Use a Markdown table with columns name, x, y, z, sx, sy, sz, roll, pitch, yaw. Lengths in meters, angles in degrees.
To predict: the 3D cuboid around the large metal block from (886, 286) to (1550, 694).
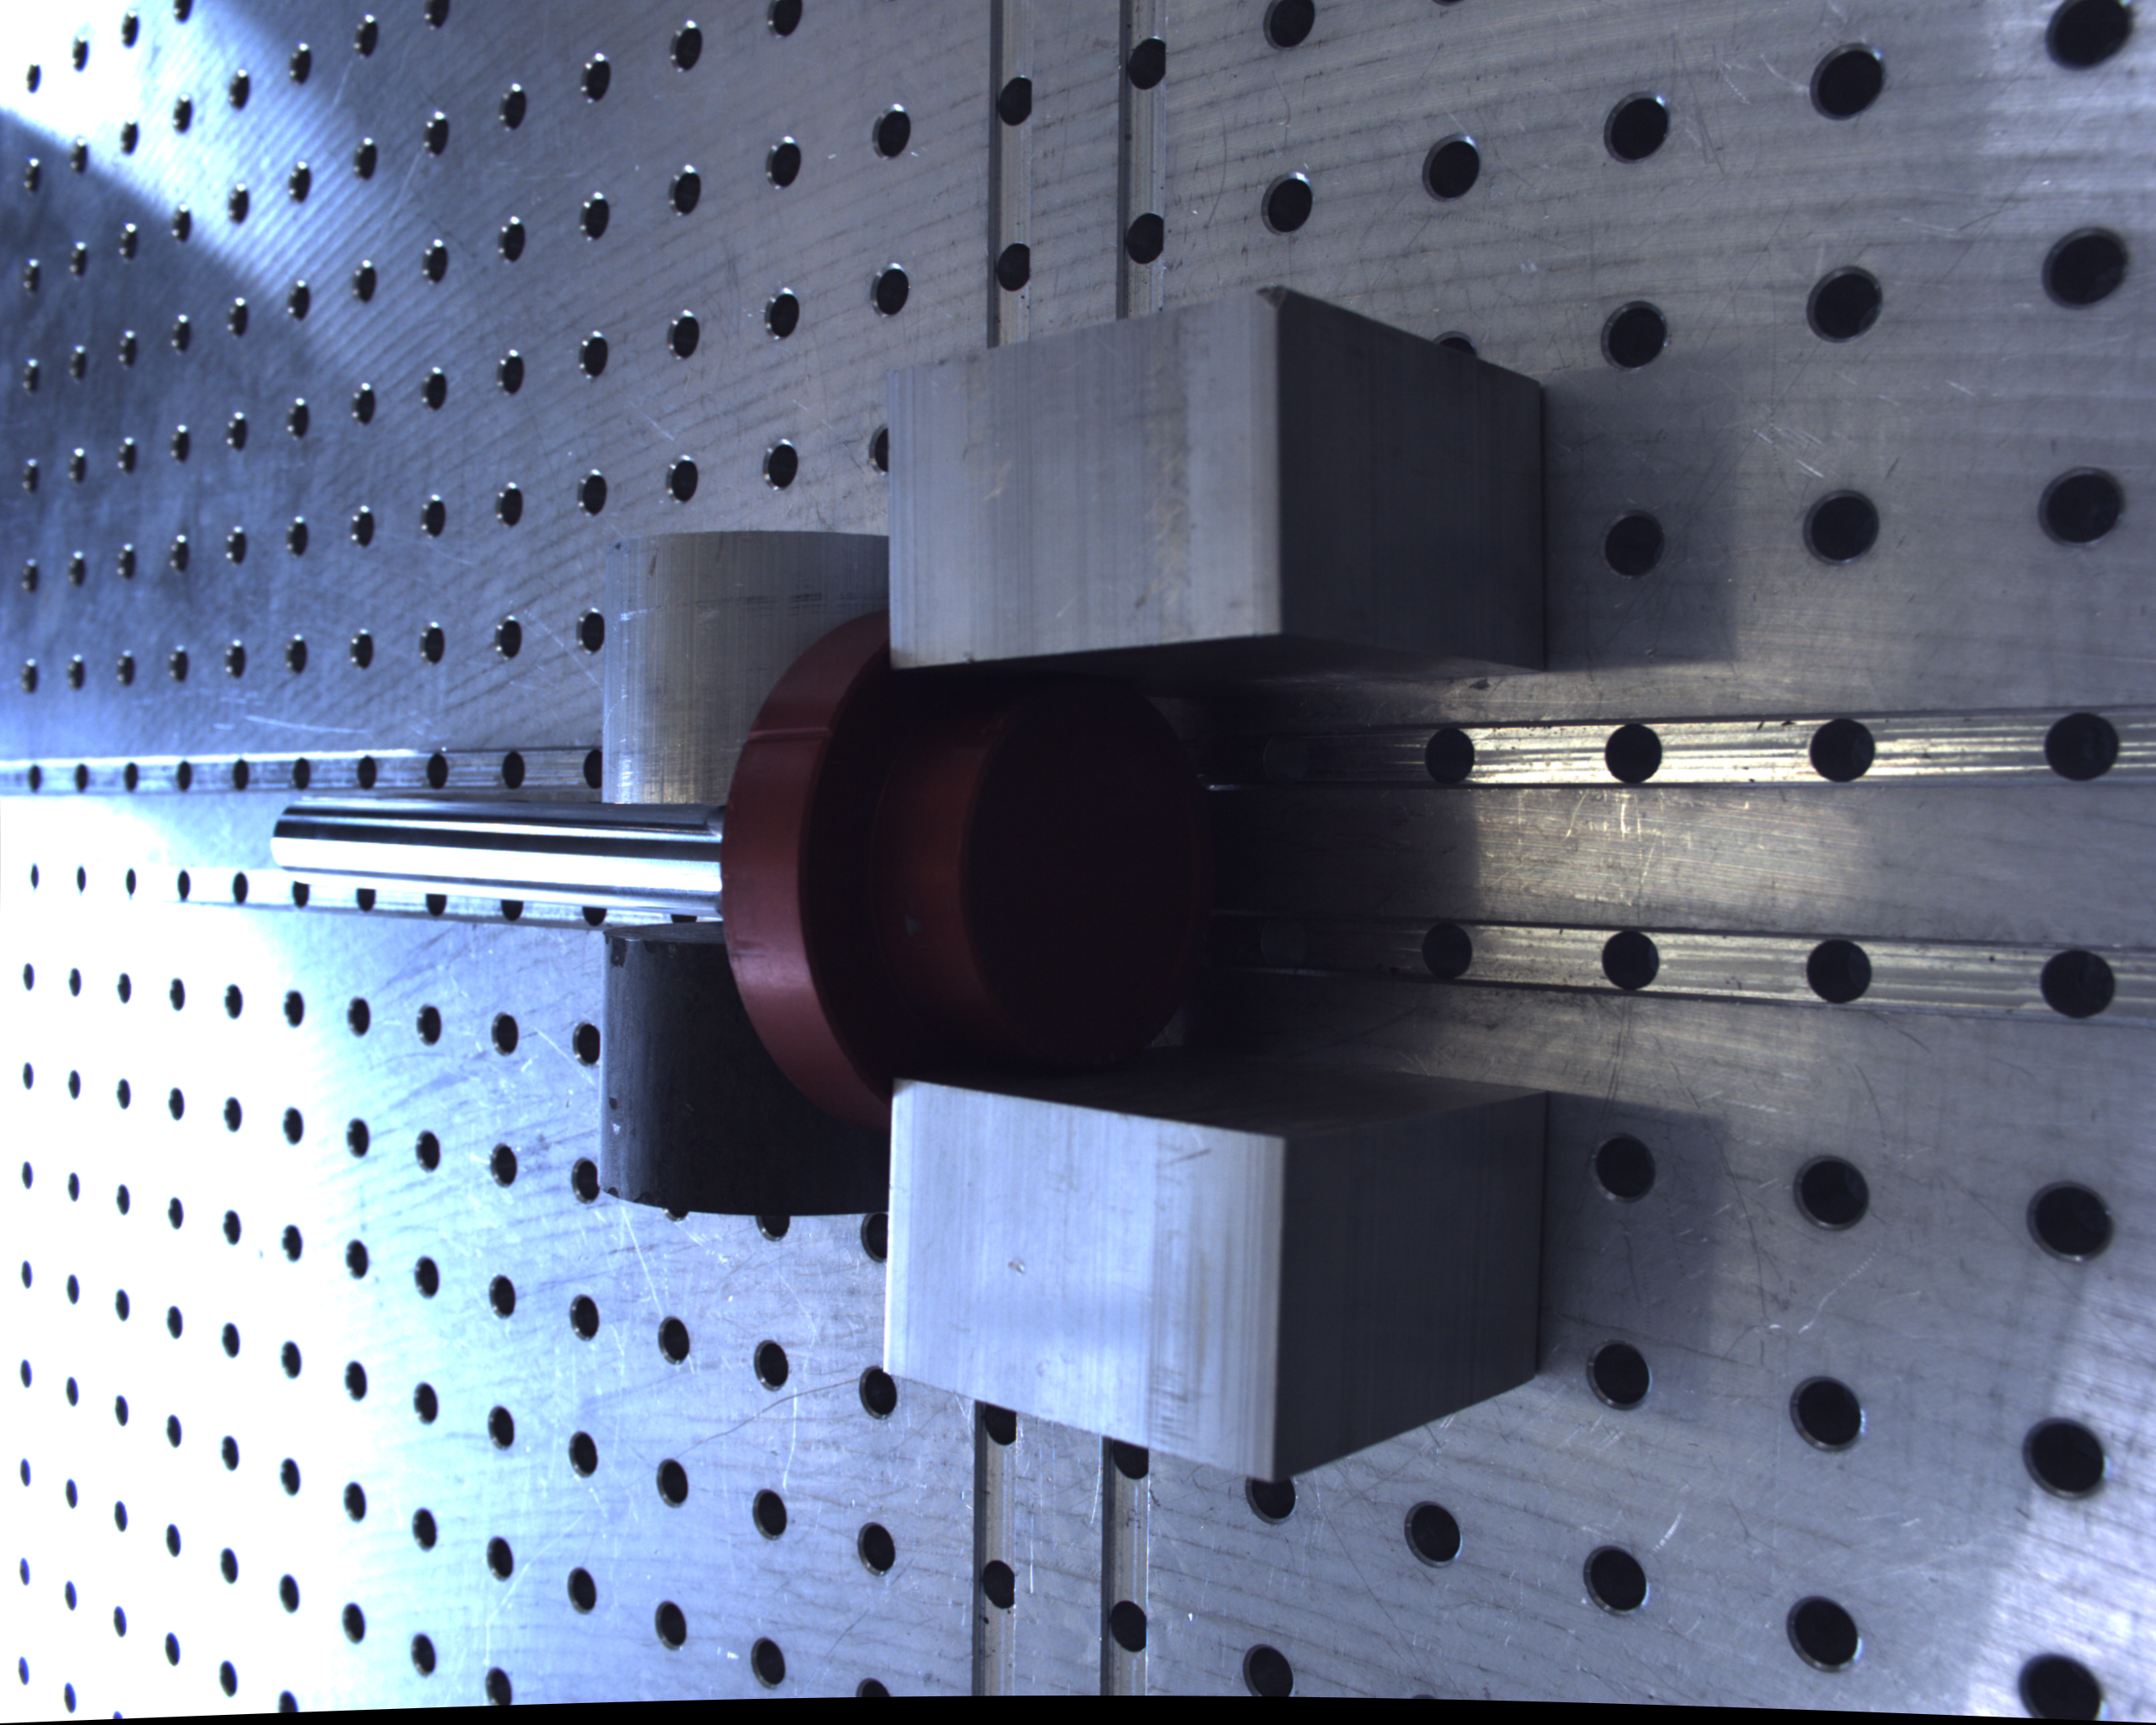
| name | x | y | z | sx | sy | sz | roll | pitch | yaw |
| --- | --- | --- | --- | --- | --- | --- | --- | --- | --- |
| large metal block | 0.025 | -0.058 | 0.354 | 0.080 | 0.081 | 0.050 | 0 | 90 | 40 |

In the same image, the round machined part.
| name | x | y | z | sx | sy | sz | roll | pitch | yaw |
| --- | --- | --- | --- | --- | --- | --- | --- | --- | --- |
| round machined part | -0.012 | 0.002 | 0.371 | 0.042 | 0.099 | 0.097 | 1 | 91 | 40 |

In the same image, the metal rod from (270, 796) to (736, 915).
| name | x | y | z | sx | sy | sz | roll | pitch | yaw |
| --- | --- | --- | --- | --- | --- | --- | --- | --- | --- |
| metal rod | -0.107 | -0.001 | 0.483 | 0.300 | 0.025 | 0.025 | 3 | 92 | 44 |

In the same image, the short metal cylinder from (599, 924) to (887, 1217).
| name | x | y | z | sx | sy | sz | roll | pitch | yaw |
| --- | --- | --- | --- | --- | --- | --- | --- | --- | --- |
| short metal cylinder | -0.054 | 0.038 | 0.418 | 0.080 | 0.081 | 0.050 | 2 | 92 | 40 |

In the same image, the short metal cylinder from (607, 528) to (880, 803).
| name | x | y | z | sx | sy | sz | roll | pitch | yaw |
| --- | --- | --- | --- | --- | --- | --- | --- | --- | --- |
| short metal cylinder | -0.053 | -0.037 | 0.418 | 0.080 | 0.081 | 0.050 | 1 | 91 | 40 |

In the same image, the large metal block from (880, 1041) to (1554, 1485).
| name | x | y | z | sx | sy | sz | roll | pitch | yaw |
| --- | --- | --- | --- | --- | --- | --- | --- | --- | --- |
| large metal block | 0.024 | 0.062 | 0.354 | 0.080 | 0.081 | 0.050 | 4 | 93 | 40 |
